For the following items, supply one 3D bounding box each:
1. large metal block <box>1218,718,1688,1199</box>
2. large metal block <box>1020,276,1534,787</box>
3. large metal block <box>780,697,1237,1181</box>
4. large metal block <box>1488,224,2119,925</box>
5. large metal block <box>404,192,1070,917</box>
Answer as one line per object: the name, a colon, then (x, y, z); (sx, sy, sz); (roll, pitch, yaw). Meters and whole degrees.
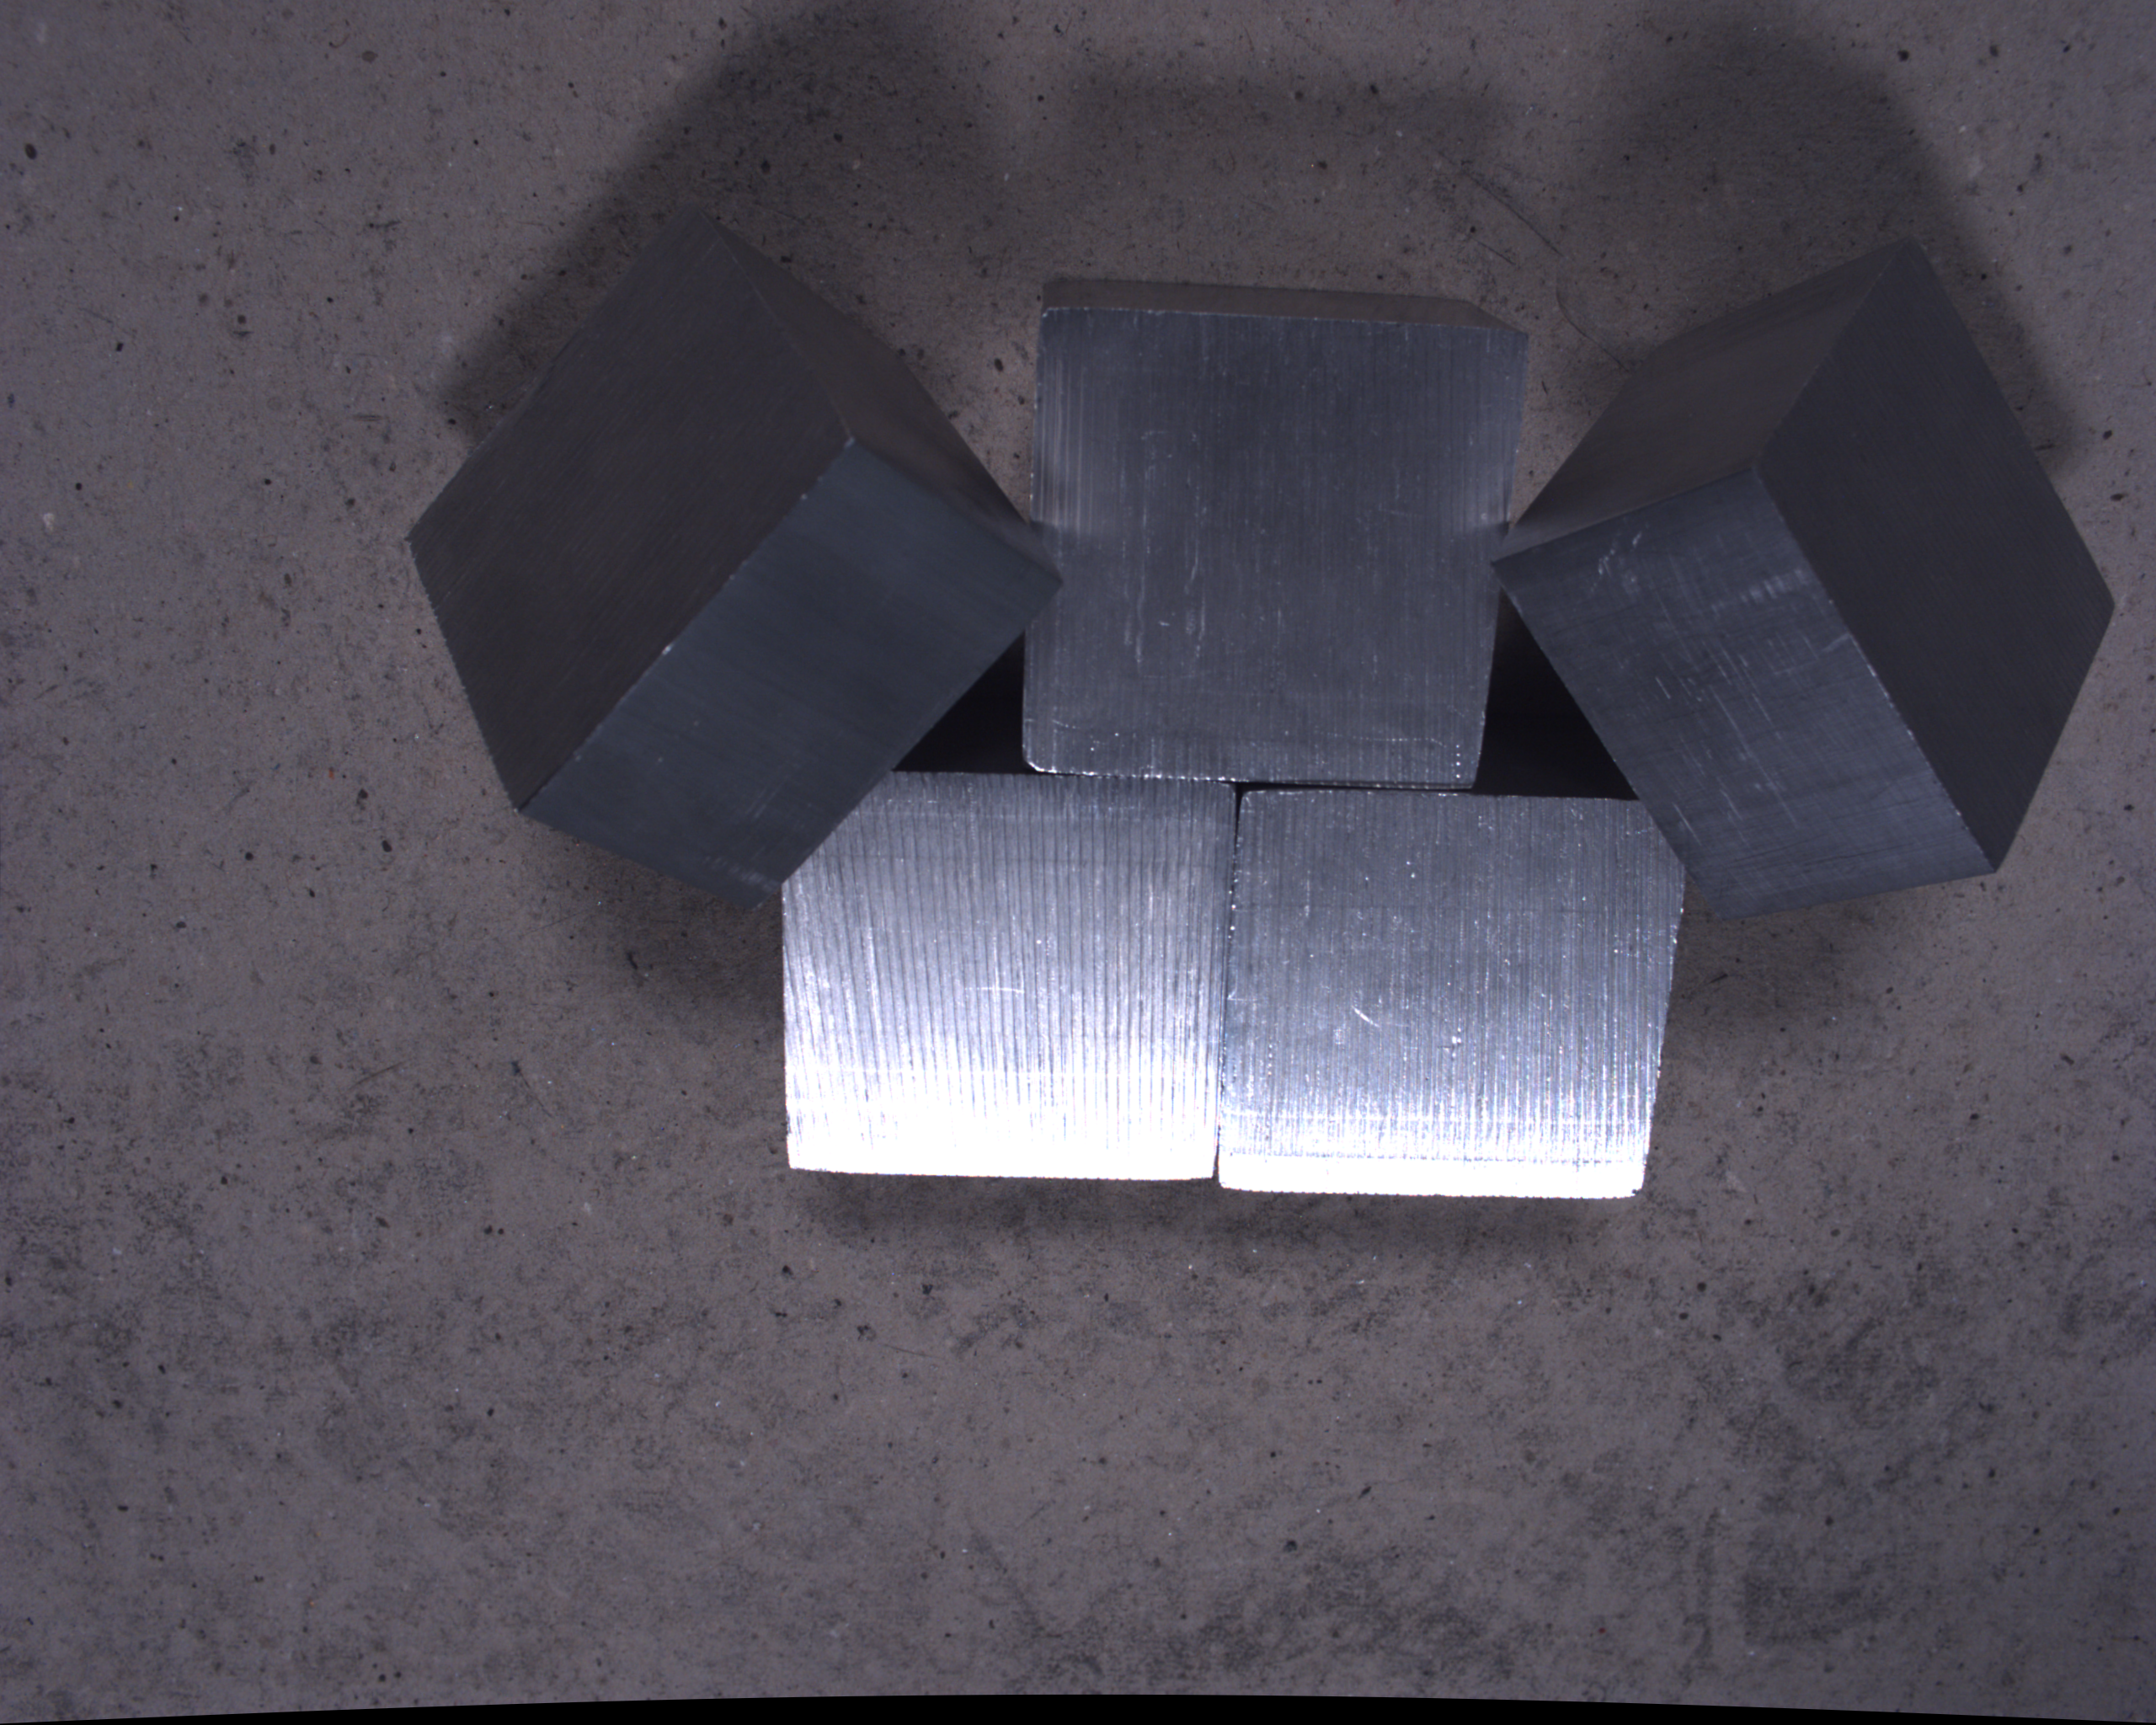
large metal block: (0.068, 0.017, 0.403); (0.081, 0.050, 0.079); (1, 110, -1)
large metal block: (0.032, -0.061, 0.376); (0.081, 0.050, 0.079); (3, 110, -2)
large metal block: (-0.014, 0.013, 0.402); (0.081, 0.050, 0.079); (1, 110, -1)
large metal block: (0.128, -0.048, 0.359); (0.050, 0.080, 0.080); (-17, 116, 49)
large metal block: (-0.061, -0.052, 0.354); (0.080, 0.080, 0.050); (-45, 139, 14)
